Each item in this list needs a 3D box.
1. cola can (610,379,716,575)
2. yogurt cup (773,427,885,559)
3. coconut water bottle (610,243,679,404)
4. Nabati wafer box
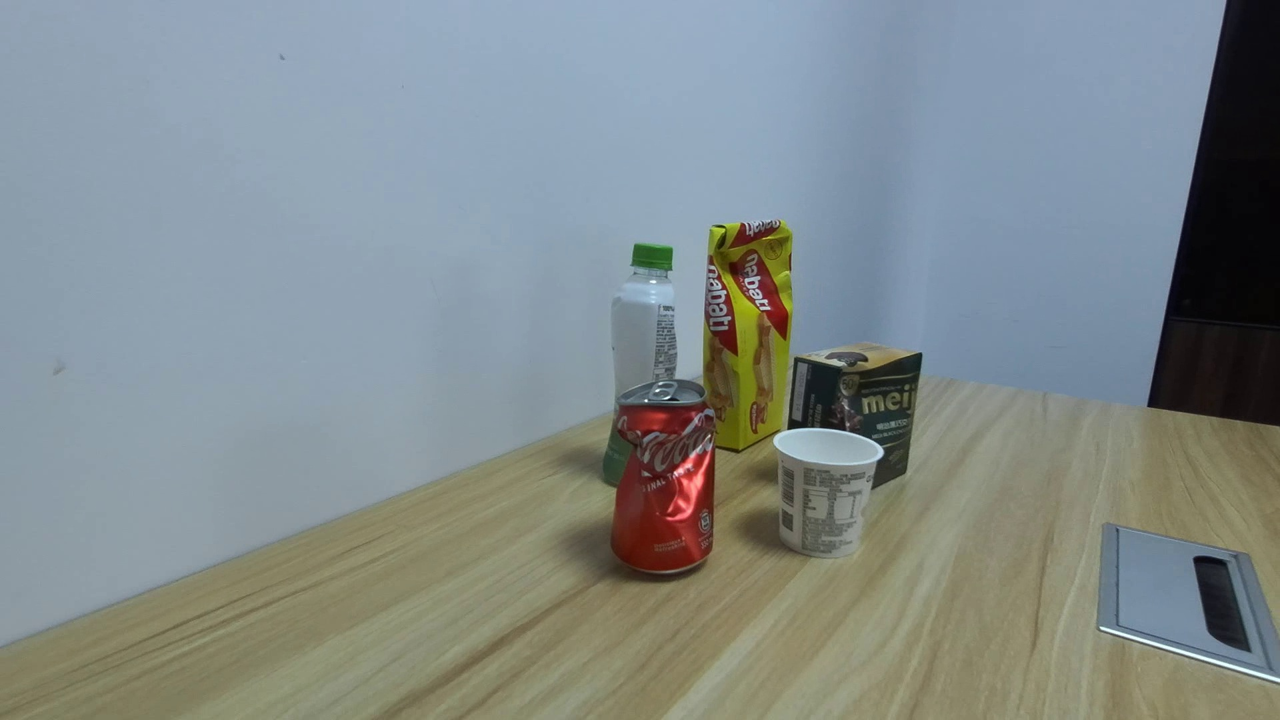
[{"bbox_3d":[0.016,0.071,0.440,0.069,0.112,0.065,-7,16,-34],"label":"cola can"},{"bbox_3d":[0.122,0.088,0.470,0.072,0.068,0.072,1,14,0],"label":"yogurt cup"},{"bbox_3d":[0.004,0.004,0.556,0.069,0.187,0.069,1,12,0],"label":"coconut water bottle"},{"bbox_3d":[0.102,-0.024,0.657,0.042,0.205,0.114,10,16,37],"label":"Nabati wafer box"}]
